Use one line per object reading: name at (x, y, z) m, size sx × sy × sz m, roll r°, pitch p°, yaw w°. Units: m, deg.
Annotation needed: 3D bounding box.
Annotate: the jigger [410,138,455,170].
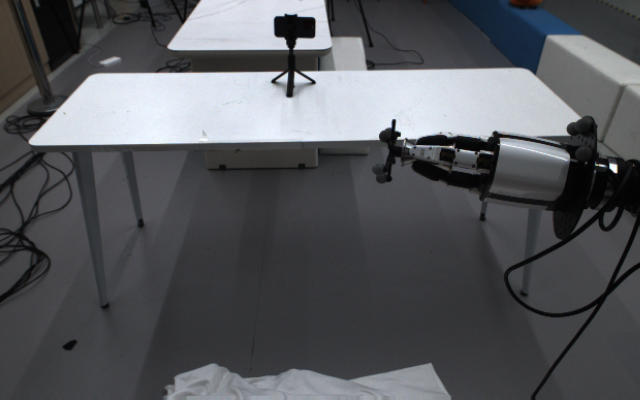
jigger at (0.154, -0.066, 0.664) m, size 0.071 × 0.043 × 0.043 m, roll 8°, pitch 35°, yaw 16°
